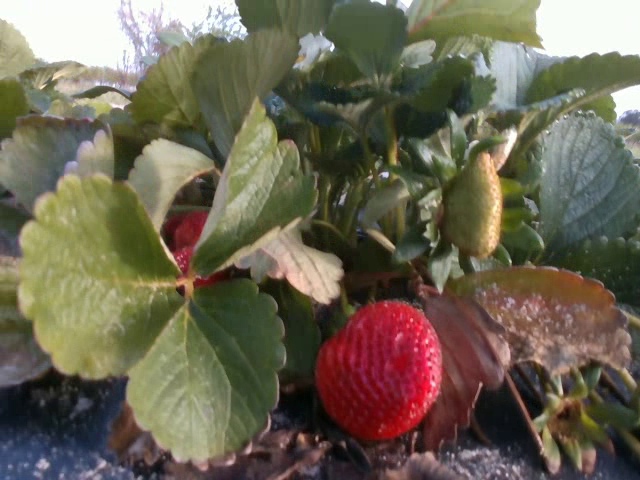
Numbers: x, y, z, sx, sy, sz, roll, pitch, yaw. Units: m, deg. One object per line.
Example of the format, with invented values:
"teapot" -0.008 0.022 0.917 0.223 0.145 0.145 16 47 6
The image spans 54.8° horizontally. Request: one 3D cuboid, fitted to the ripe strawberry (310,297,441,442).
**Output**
"ripe strawberry" 0.012 0.026 0.118 0.031 0.026 0.030 -12 14 -18
